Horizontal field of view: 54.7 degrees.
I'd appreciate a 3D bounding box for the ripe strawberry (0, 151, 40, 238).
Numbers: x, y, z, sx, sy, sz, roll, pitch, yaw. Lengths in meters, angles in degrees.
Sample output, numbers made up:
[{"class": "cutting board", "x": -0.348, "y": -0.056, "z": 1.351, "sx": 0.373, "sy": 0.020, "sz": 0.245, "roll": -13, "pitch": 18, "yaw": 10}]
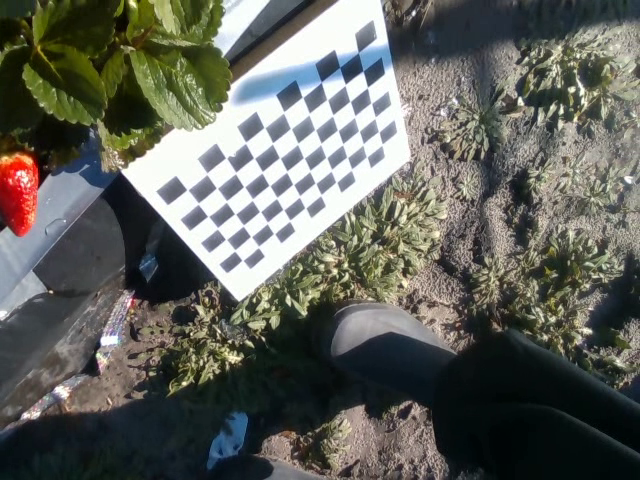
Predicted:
[{"class": "ripe strawberry", "x": -0.253, "y": -0.036, "z": 0.516, "sx": 0.061, "sy": 0.065, "sz": 0.058, "roll": -21, "pitch": 6, "yaw": -36}]
